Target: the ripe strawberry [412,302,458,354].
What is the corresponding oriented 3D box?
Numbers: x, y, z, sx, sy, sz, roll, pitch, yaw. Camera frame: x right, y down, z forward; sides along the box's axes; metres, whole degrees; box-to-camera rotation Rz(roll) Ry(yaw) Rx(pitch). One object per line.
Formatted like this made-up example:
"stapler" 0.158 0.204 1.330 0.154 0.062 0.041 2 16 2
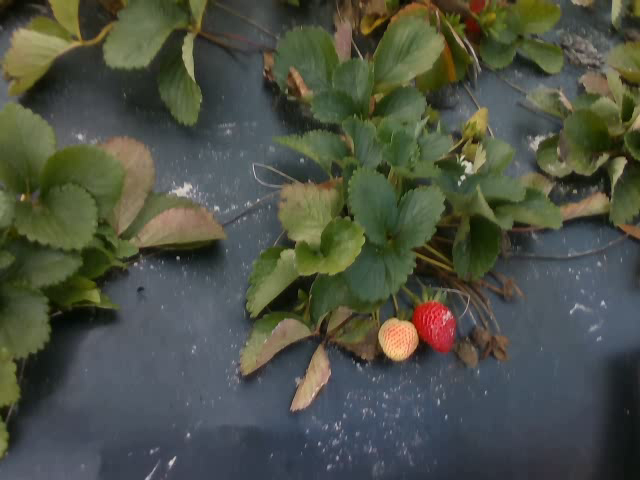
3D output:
"ripe strawberry" 0.080 0.060 0.423 0.034 0.033 0.042 24 28 -18
